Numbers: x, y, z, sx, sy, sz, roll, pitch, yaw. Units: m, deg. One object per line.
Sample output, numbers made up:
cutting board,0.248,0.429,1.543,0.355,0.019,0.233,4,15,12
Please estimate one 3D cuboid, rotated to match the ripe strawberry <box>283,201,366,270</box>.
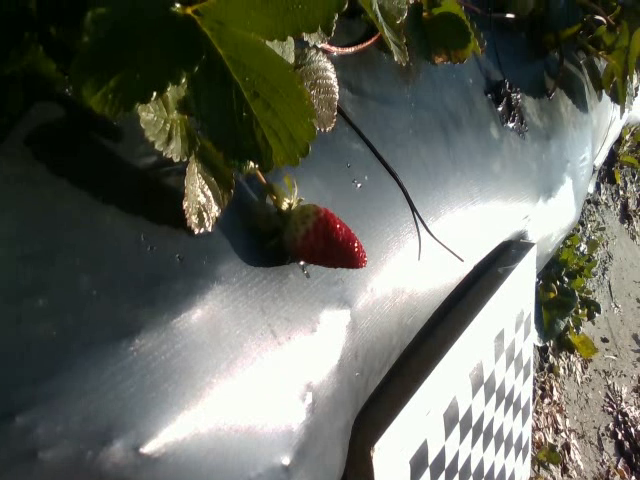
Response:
ripe strawberry,0.004,0.001,0.244,0.041,0.028,0.031,30,-28,6
